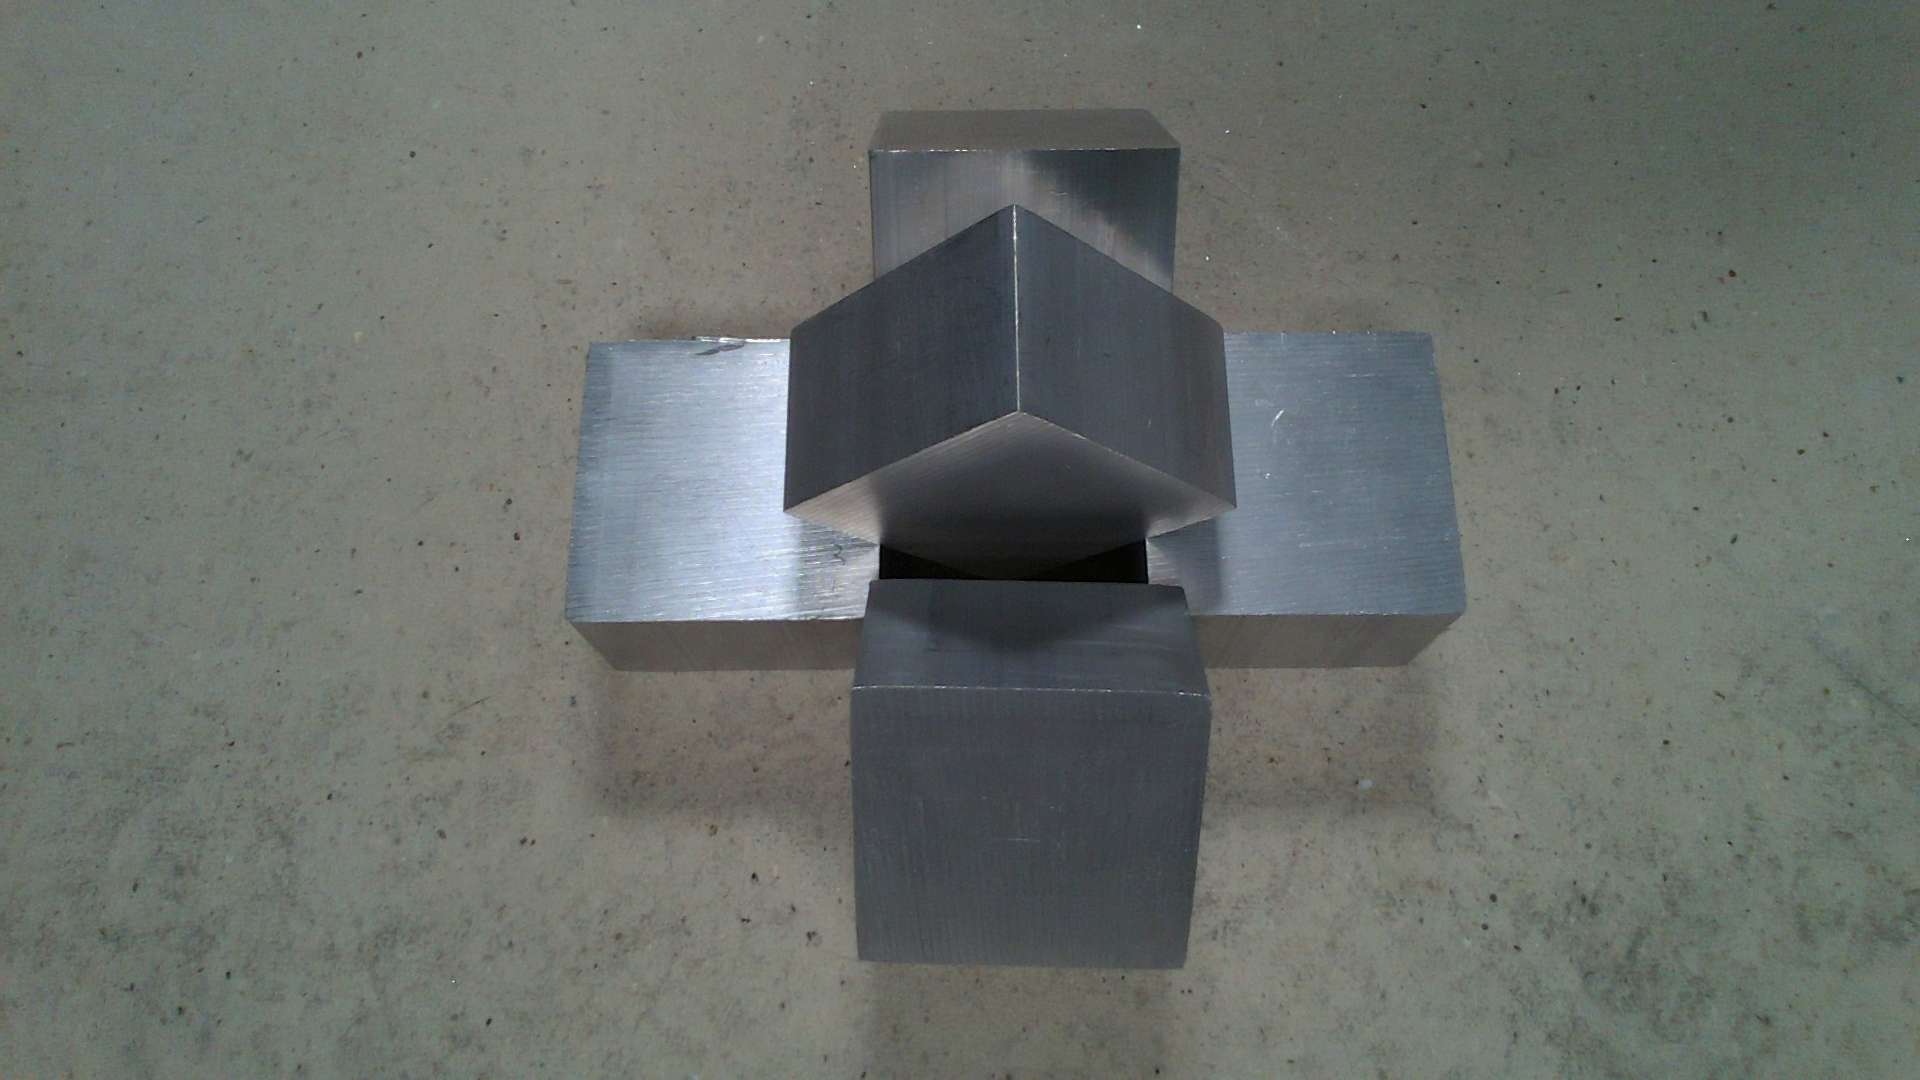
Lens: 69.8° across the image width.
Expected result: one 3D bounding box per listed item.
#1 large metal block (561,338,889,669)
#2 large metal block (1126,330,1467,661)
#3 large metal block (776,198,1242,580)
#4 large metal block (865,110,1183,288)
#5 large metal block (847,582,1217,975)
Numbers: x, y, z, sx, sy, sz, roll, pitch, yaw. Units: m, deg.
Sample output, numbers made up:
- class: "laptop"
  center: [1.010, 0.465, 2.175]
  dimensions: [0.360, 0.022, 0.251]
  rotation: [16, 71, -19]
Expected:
- class: "large metal block"
  center: [-0.061, -0.009, 0.384]
  dimensions: [0.080, 0.050, 0.080]
  rotation: [-1, 70, 0]
- class: "large metal block"
  center: [0.088, -0.011, 0.383]
  dimensions: [0.080, 0.050, 0.080]
  rotation: [0, 70, 0]
- class: "large metal block"
  center: [0.012, -0.031, 0.342]
  dimensions: [0.080, 0.080, 0.050]
  rotation: [-19, 63, 41]
- class: "large metal block"
  center: [0.017, -0.092, 0.393]
  dimensions: [0.080, 0.080, 0.050]
  rotation: [0, 114, 0]
- class: "large metal block"
  center: [0.016, 0.058, 0.338]
  dimensions: [0.080, 0.080, 0.050]
  rotation: [1, 27, 1]
